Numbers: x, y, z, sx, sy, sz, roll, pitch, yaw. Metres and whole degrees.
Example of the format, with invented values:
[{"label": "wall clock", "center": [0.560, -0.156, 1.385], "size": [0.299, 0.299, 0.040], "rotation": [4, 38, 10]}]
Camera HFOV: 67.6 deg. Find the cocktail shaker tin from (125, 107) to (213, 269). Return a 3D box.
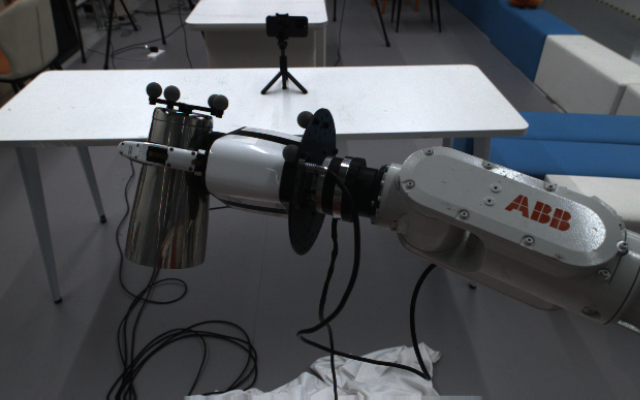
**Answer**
[{"label": "cocktail shaker tin", "center": [-0.165, -0.018, 0.562], "size": [0.093, 0.170, 0.093], "rotation": [10, 10, -2]}]
